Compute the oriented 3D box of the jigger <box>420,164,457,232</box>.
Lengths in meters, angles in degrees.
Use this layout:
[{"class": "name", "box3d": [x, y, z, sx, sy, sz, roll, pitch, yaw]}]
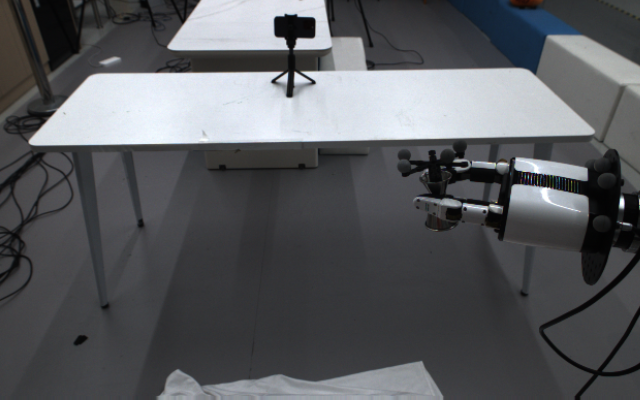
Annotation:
[{"class": "jigger", "box3d": [0.152, 0.000, 0.624, 0.043, 0.071, 0.043, -11, 24, 5]}]
